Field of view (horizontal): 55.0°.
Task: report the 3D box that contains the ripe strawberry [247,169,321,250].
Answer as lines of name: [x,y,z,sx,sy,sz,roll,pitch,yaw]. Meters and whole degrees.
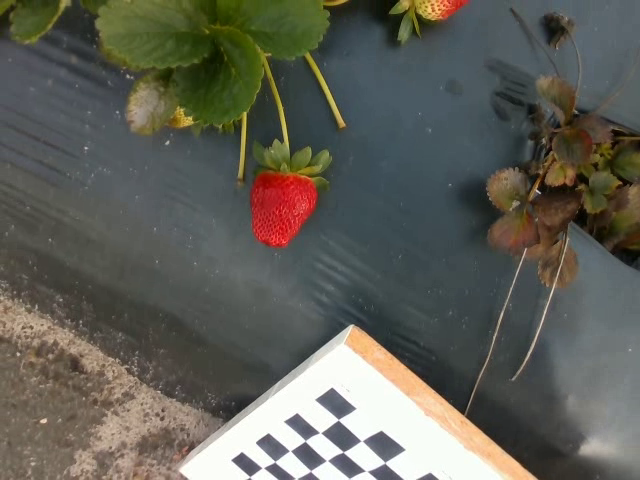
ripe strawberry: [-0.025,-0.018,0.366,0.045,0.055,0.042,3,-29,29]
